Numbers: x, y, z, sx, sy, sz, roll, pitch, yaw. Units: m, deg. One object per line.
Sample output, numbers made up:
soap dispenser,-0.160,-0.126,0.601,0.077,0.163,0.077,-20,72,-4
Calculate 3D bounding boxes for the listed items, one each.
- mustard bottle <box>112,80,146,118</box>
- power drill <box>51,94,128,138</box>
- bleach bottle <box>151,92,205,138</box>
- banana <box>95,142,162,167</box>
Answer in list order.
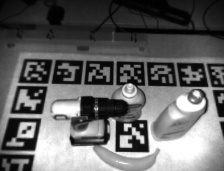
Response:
mustard bottle,0.047,0.037,0.625,0.096,0.192,0.058,1,63,-1
power drill,-0.056,0.081,0.578,0.185,0.187,0.057,-1,57,-5
bleach bottle,0.175,0.081,0.583,0.103,0.252,0.067,-7,65,-4
banana,0.048,0.198,0.628,0.197,0.039,0.074,3,68,2
